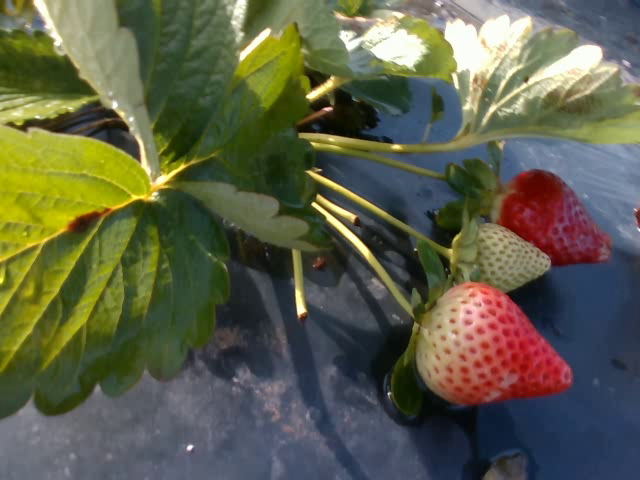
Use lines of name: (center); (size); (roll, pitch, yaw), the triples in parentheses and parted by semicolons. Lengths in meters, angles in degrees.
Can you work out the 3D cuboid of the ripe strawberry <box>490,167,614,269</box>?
ripe strawberry: (0.107, -0.005, 0.283); (0.065, 0.048, 0.050); (33, -8, -4)
